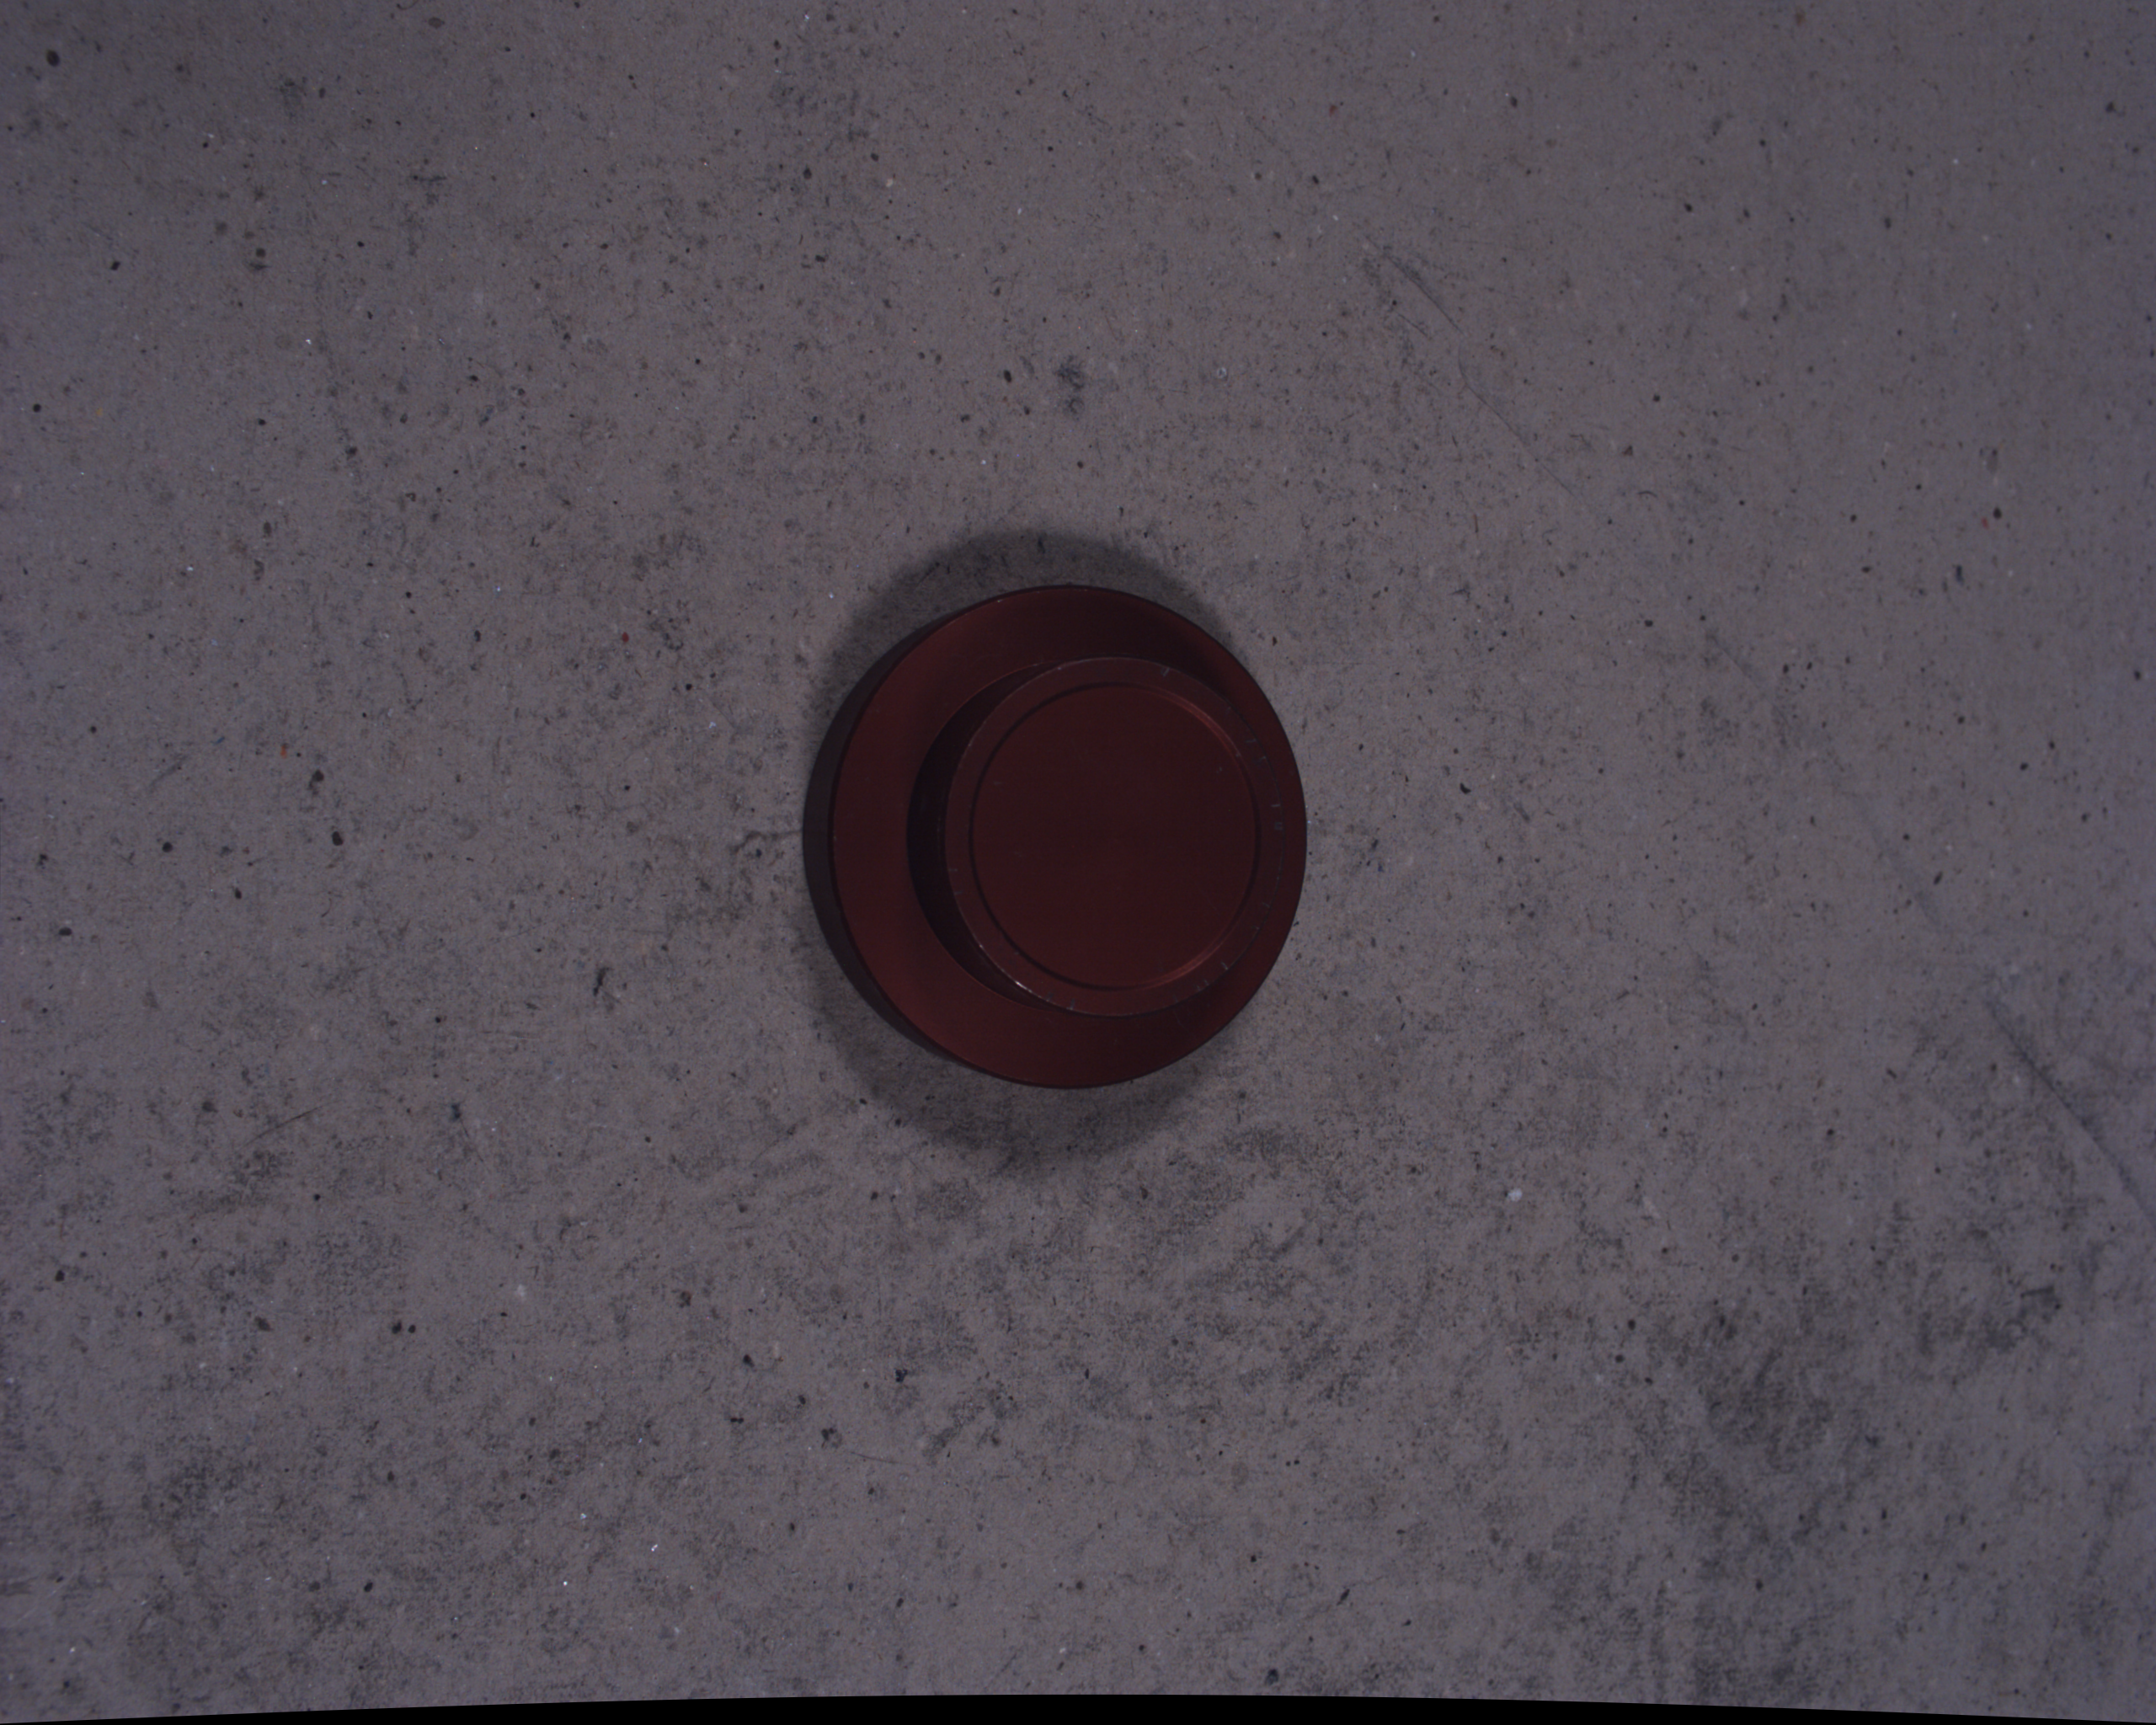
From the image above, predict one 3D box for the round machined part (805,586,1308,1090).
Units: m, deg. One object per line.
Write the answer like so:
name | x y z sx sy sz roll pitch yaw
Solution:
round machined part | 0.000 -0.005 0.402 0.099 0.042 0.097 0 90 -21
